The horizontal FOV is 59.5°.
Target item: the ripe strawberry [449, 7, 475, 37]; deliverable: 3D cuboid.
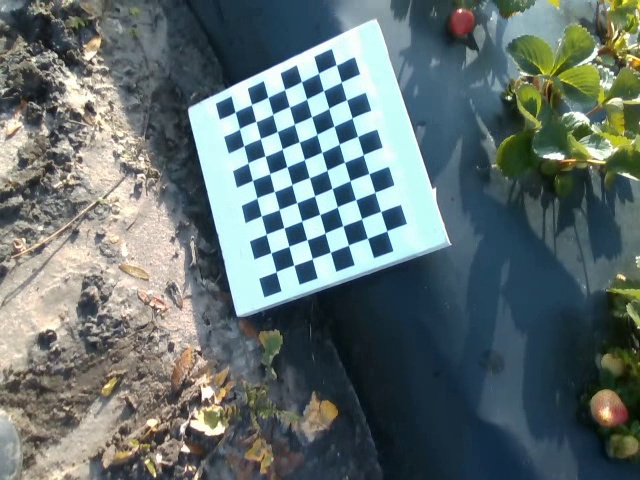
[{"bbox_3d":[0.168,-0.250,0.658,0.030,0.045,0.033,10,-35,23],"label":"ripe strawberry"}]
